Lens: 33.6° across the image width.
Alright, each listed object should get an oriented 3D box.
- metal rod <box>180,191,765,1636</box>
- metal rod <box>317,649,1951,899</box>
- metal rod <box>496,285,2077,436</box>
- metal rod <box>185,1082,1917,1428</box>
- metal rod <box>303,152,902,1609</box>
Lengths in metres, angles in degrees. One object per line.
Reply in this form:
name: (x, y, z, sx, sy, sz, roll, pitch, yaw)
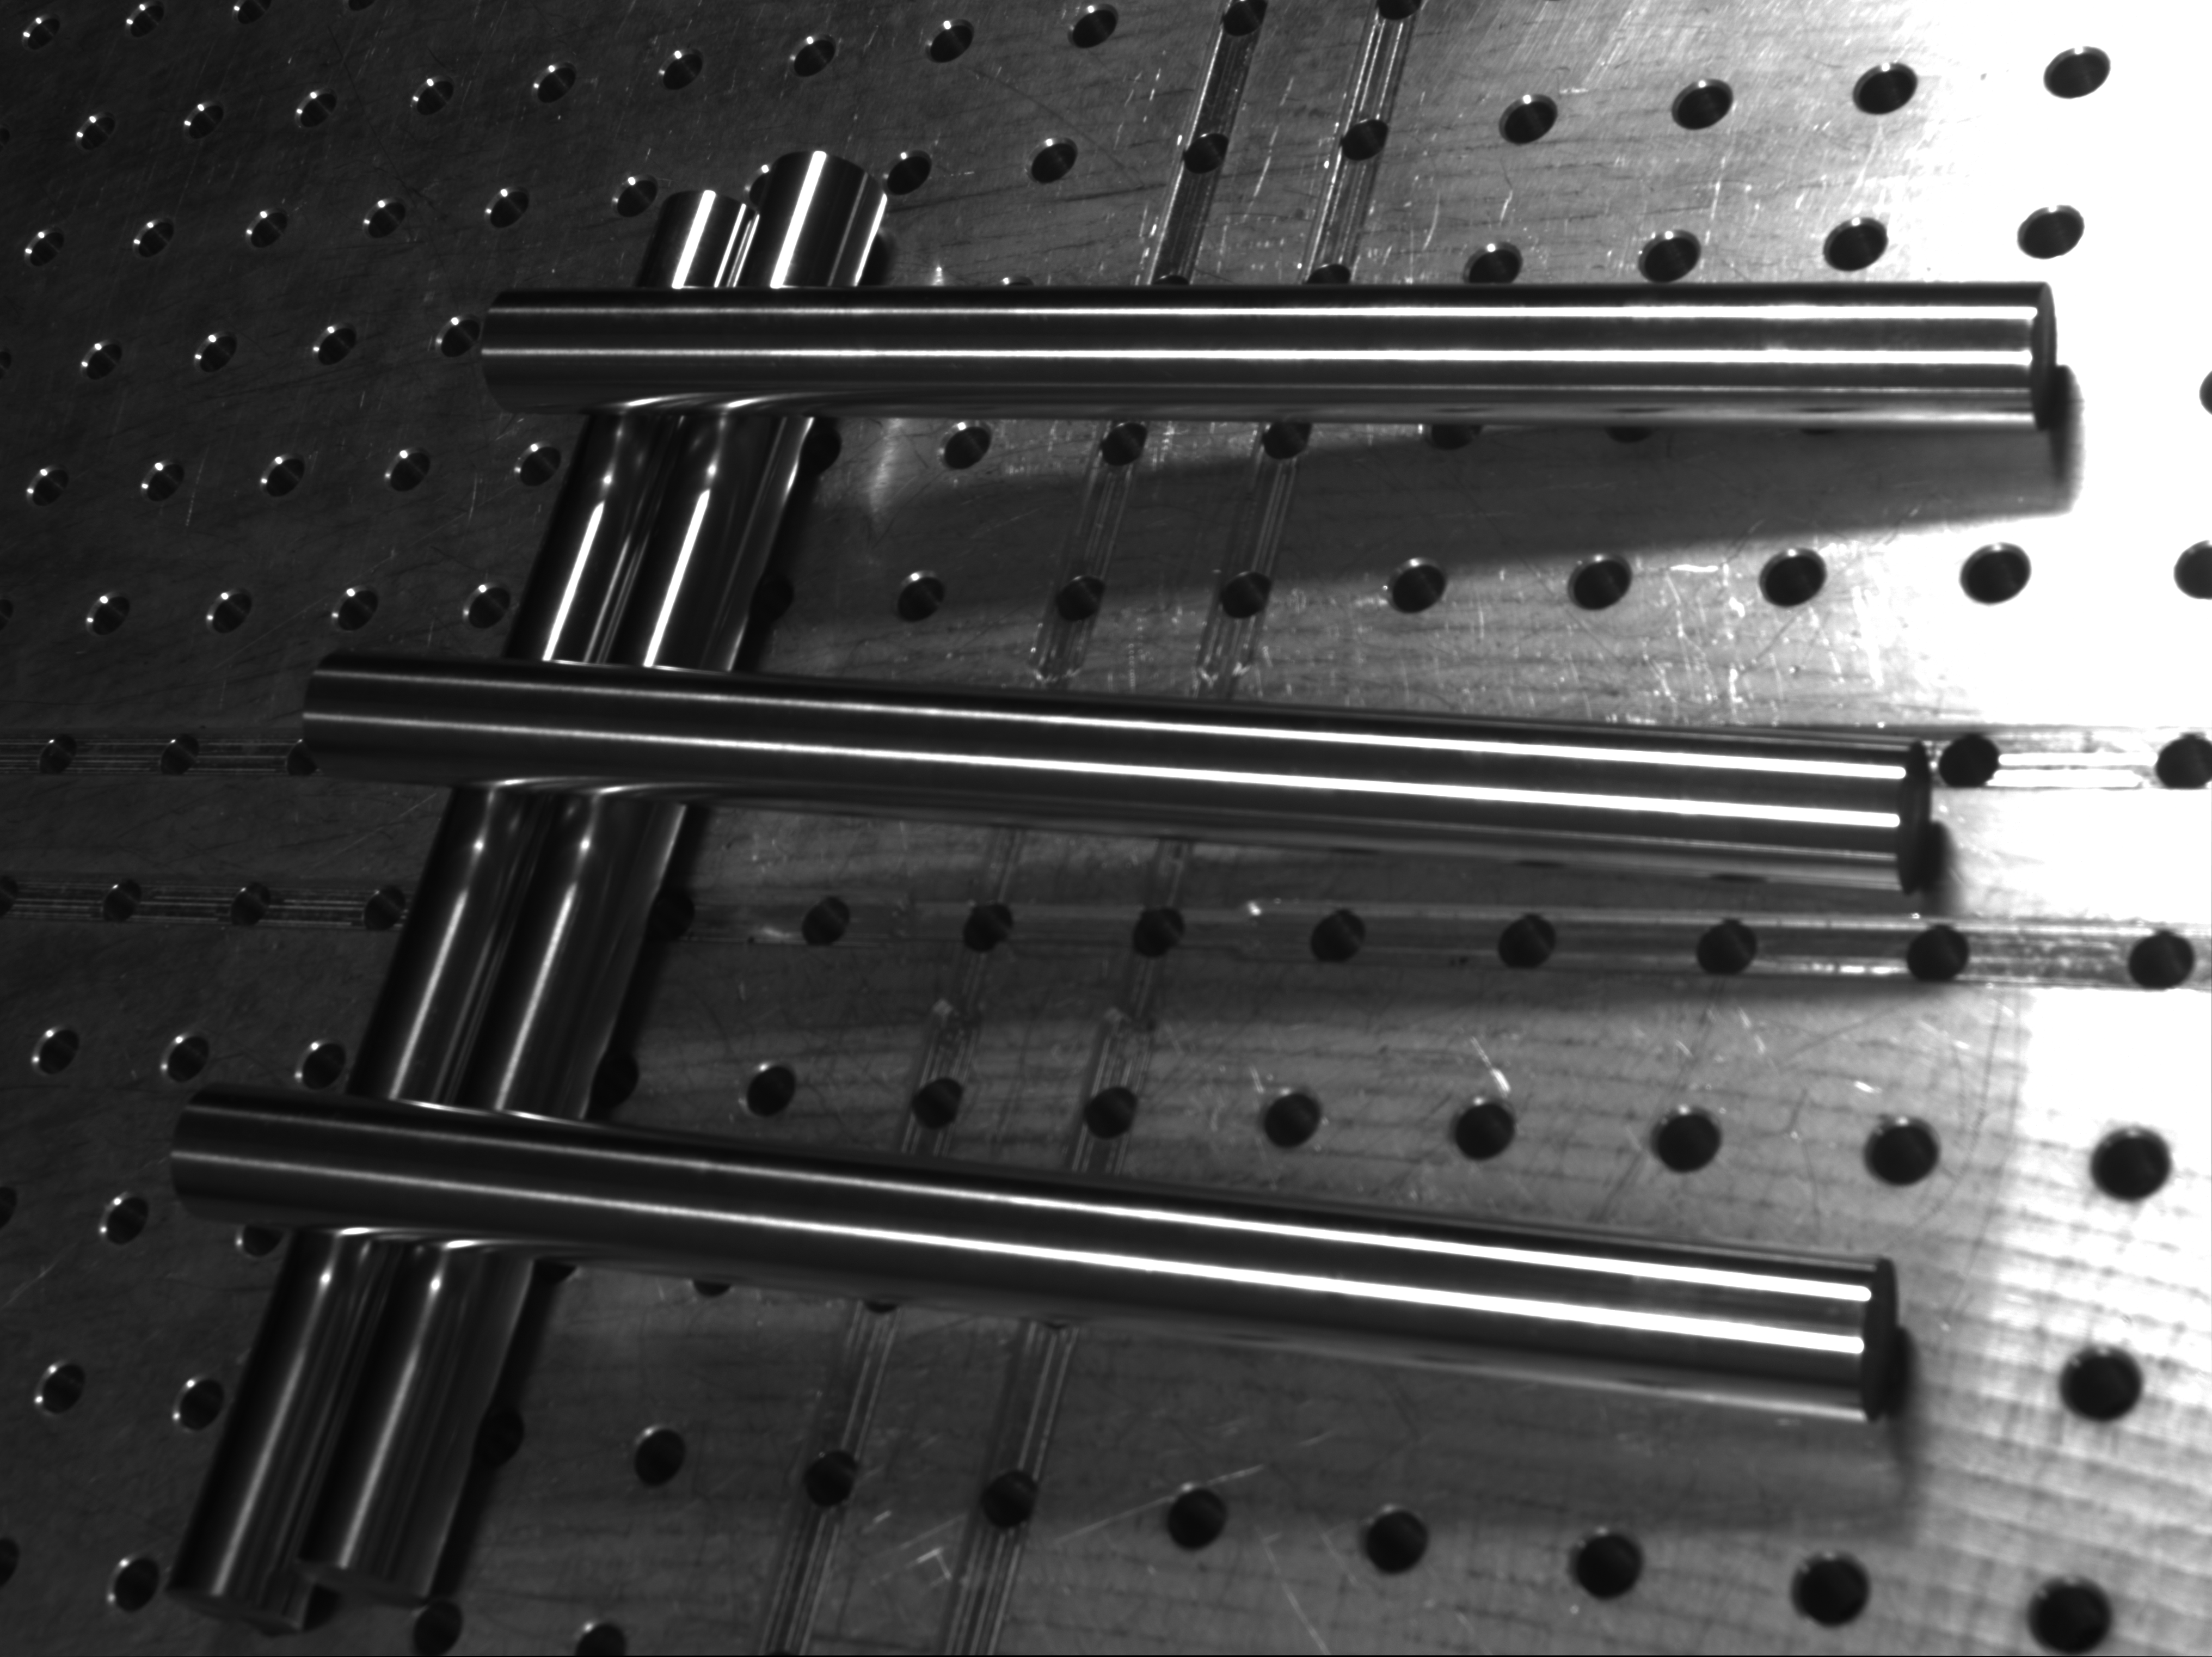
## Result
metal rod: (-0.114, 0.006, 0.704, 0.025, 0.025, 0.300, 1, 62, 29)
metal rod: (-0.006, -0.012, 0.638, 0.299, 0.025, 0.025, 4, 63, 24)
metal rod: (0.023, -0.087, 0.670, 0.299, 0.025, 0.025, 4, 63, 23)
metal rod: (-0.020, 0.067, 0.598, 0.299, 0.025, 0.025, 4, 63, 23)
metal rod: (-0.091, 0.000, 0.696, 0.025, 0.025, 0.300, 1, 62, 29)
